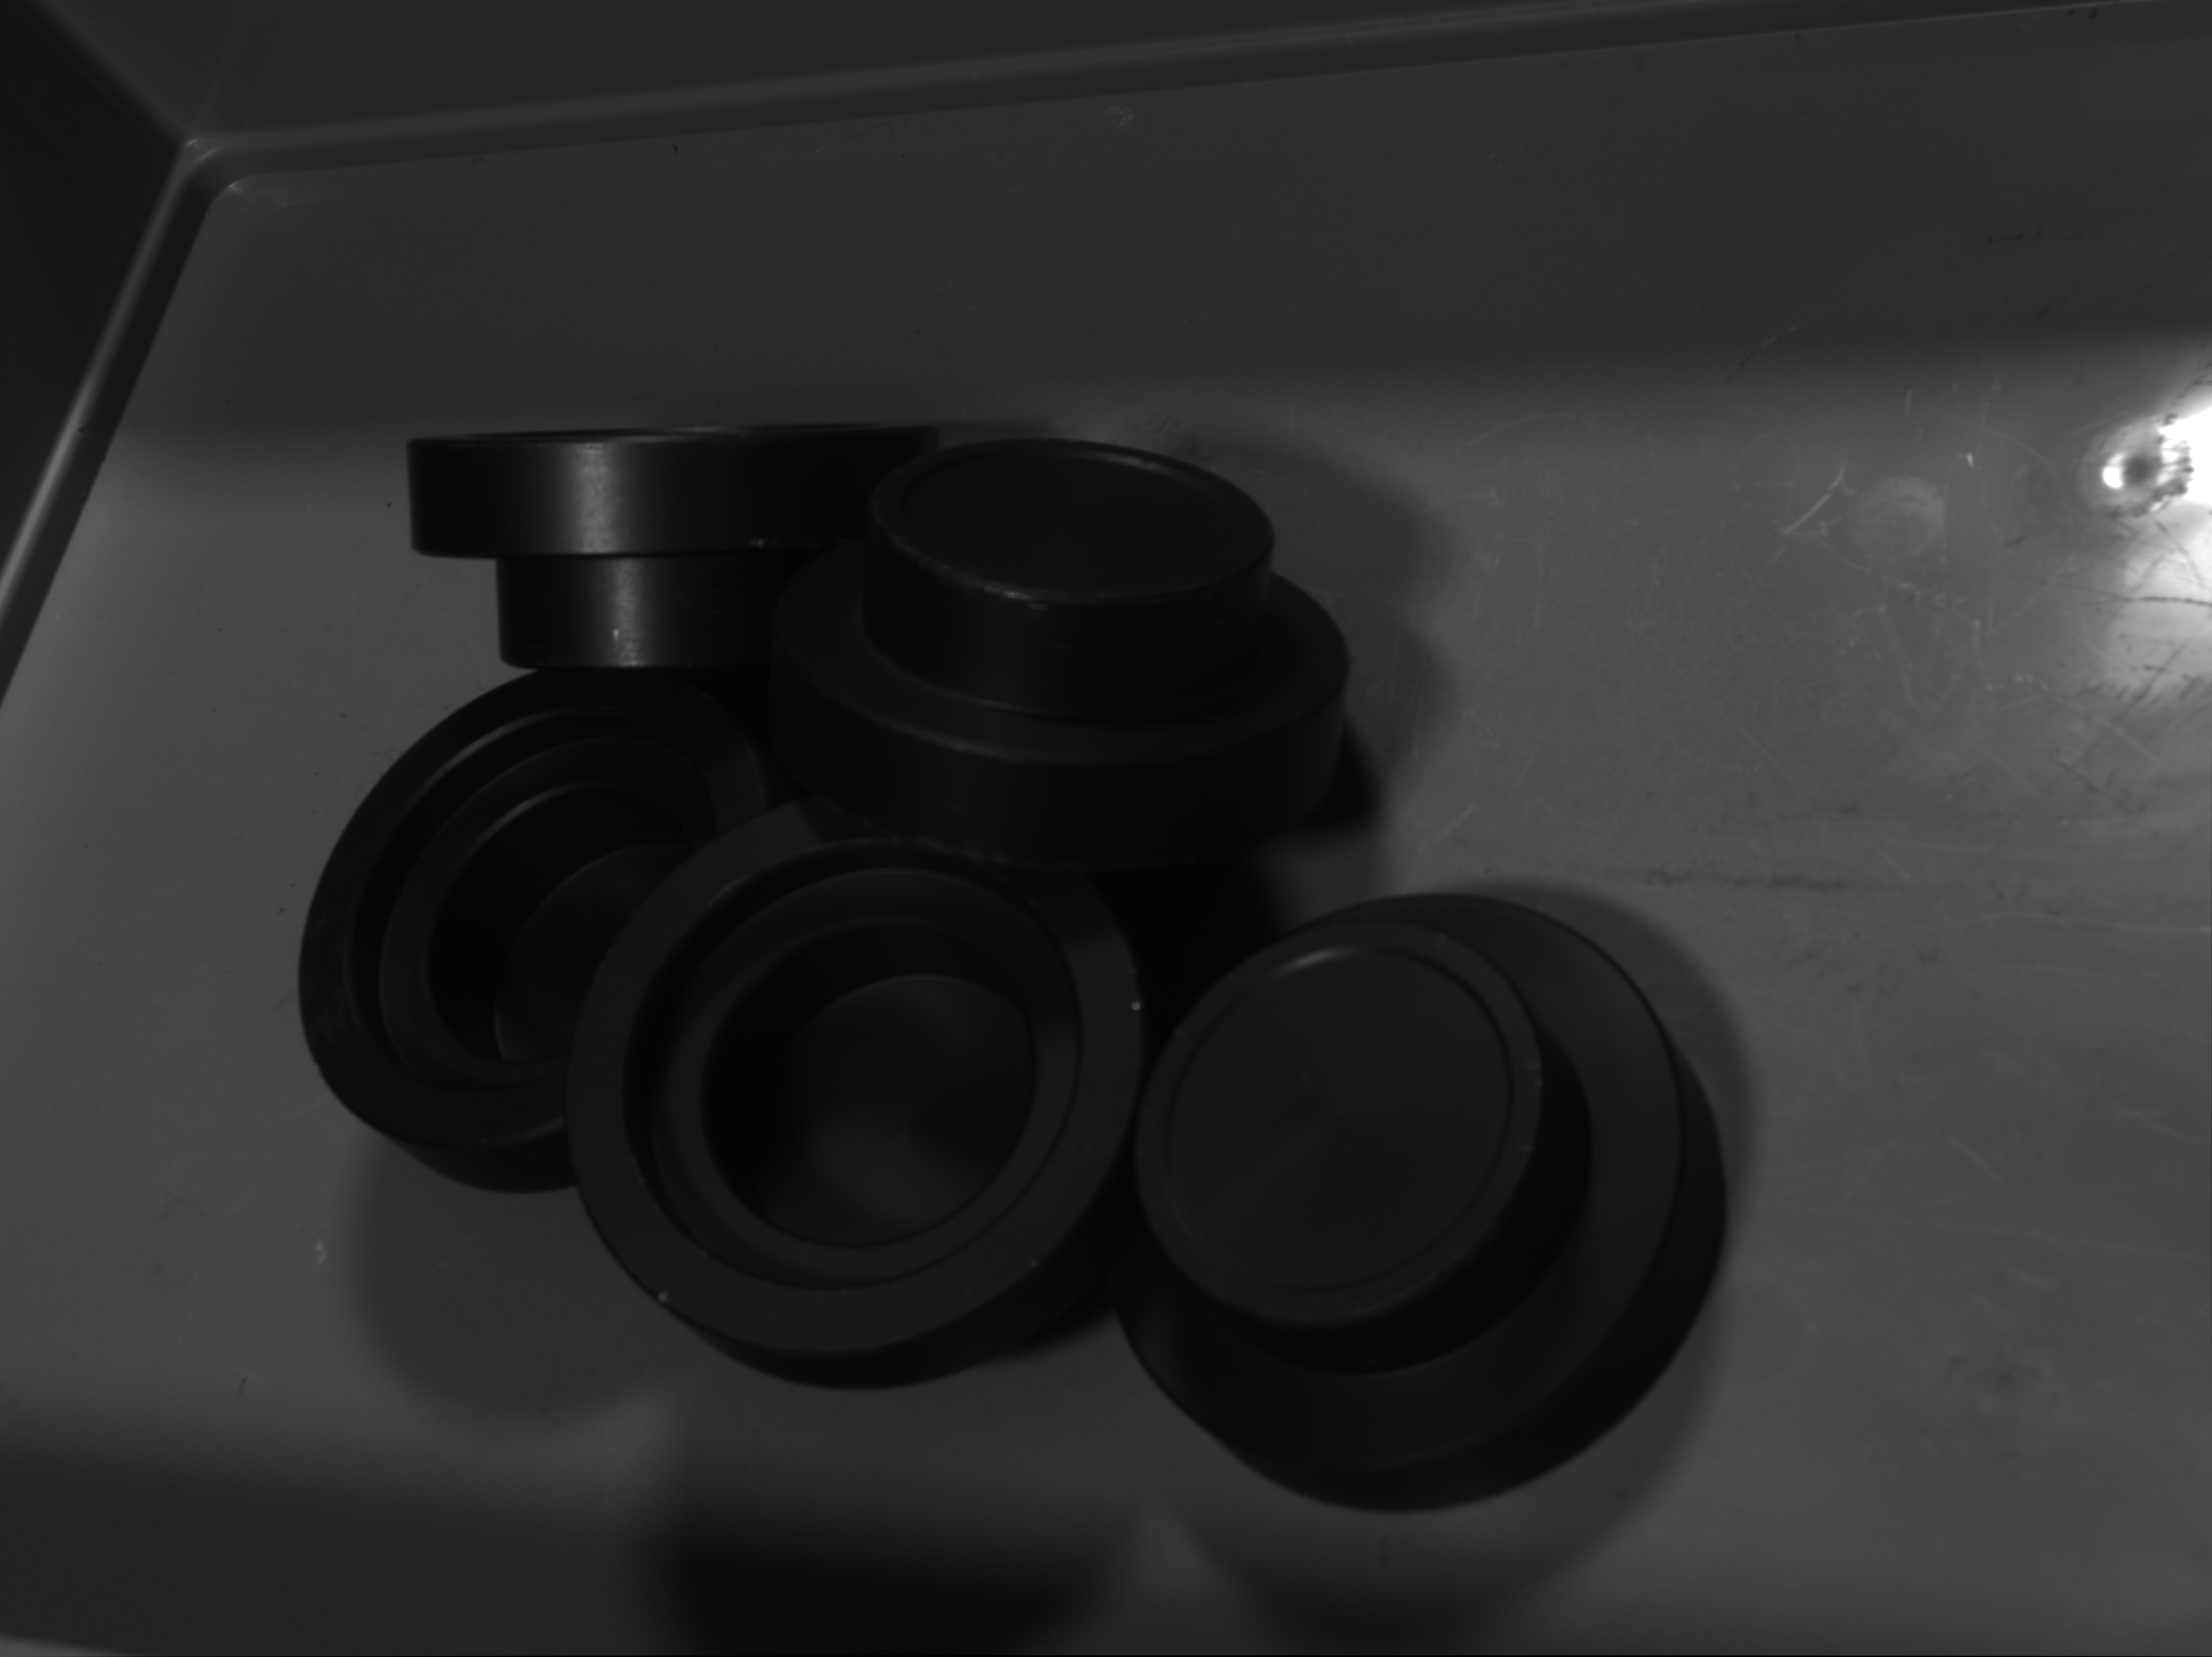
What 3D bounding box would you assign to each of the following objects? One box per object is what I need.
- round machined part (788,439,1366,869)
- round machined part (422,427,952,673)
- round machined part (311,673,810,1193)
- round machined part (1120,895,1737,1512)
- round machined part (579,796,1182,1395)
[{"bbox_3d":[-0.005,-0.034,0.620,0.098,0.042,0.098,4,27,-2],"label":"round machined part"},{"bbox_3d":[-0.077,-0.053,0.683,0.098,0.098,0.042,3,98,30],"label":"round machined part"},{"bbox_3d":[-0.092,0.022,0.667,0.098,0.042,0.098,-13,56,21],"label":"round machined part"},{"bbox_3d":[0.046,0.053,0.574,0.098,0.042,0.098,-13,56,21],"label":"round machined part"},{"bbox_3d":[-0.034,0.046,0.607,0.098,0.042,0.098,-5,67,12],"label":"round machined part"}]
